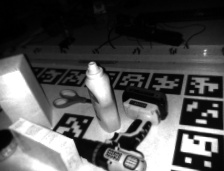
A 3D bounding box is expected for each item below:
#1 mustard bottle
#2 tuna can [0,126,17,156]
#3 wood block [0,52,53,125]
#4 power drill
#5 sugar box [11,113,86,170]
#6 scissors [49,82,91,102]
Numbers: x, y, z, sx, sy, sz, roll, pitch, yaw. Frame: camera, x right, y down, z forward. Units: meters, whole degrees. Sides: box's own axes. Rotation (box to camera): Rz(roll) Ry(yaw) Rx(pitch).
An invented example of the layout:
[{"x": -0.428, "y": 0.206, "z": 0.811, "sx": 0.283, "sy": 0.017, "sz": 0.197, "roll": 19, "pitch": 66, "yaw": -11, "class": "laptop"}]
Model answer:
[{"x": -0.029, "y": 0.016, "z": 0.548, "sx": 0.058, "sy": 0.193, "sz": 0.095, "roll": -24, "pitch": 41, "yaw": -8, "class": "mustard bottle"}, {"x": -0.303, "y": 0.148, "z": 0.583, "sx": 0.085, "sy": 0.034, "sz": 0.085, "roll": -8, "pitch": 41, "yaw": 8, "class": "tuna can"}, {"x": -0.246, "y": 0.024, "z": 0.595, "sx": 0.091, "sy": 0.208, "sz": 0.089, "roll": -16, "pitch": 41, "yaw": 0, "class": "wood block"}, {"x": 0.011, "y": 0.096, "z": 0.535, "sx": 0.182, "sy": 0.058, "sz": 0.187, "roll": 14, "pitch": 55, "yaw": 31, "class": "power drill"}, {"x": -0.152, "y": 0.134, "z": 0.515, "sx": 0.174, "sy": 0.093, "sz": 0.045, "roll": 14, "pitch": 45, "yaw": 28, "class": "sugar box"}, {"x": -0.121, "y": 0.026, "z": 0.689, "sx": 0.201, "sy": 0.016, "sz": 0.088, "roll": 5, "pitch": 40, "yaw": 22, "class": "scissors"}]
